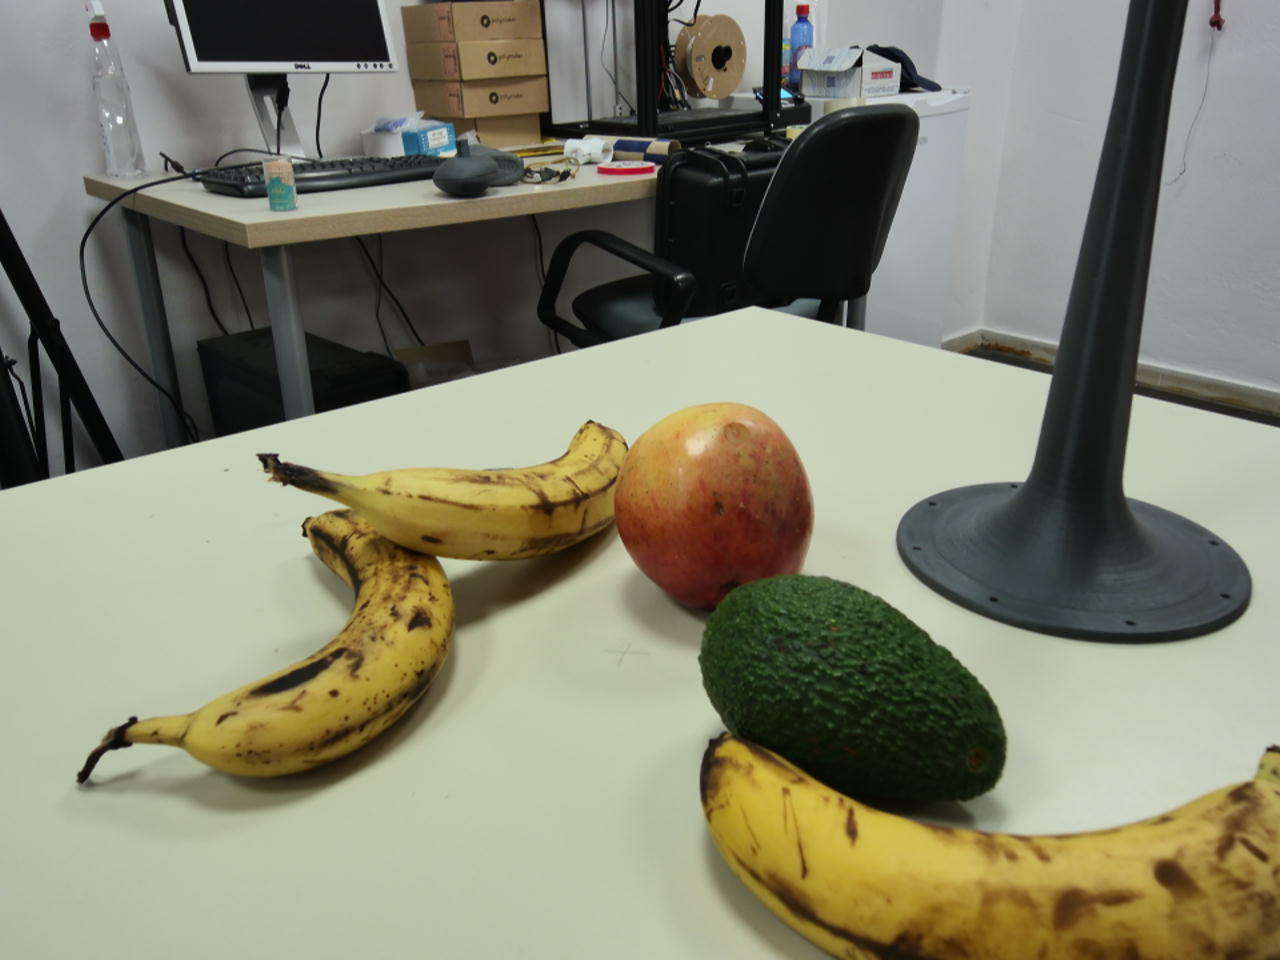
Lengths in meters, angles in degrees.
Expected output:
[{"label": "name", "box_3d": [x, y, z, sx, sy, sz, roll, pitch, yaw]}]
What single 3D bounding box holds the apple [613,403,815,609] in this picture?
[{"label": "apple", "box_3d": [0.032, 0.010, 0.436, 0.086, 0.084, 0.093, 5, 22, 14]}]
